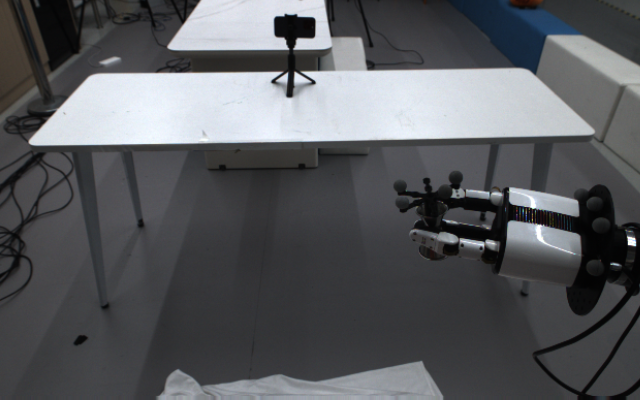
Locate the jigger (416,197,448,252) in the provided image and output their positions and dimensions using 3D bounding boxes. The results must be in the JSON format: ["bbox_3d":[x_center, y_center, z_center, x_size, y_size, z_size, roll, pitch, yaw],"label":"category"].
[{"bbox_3d":[0.147,0.038,0.629,0.043,0.071,0.043,-10,31,6],"label":"jigger"}]
